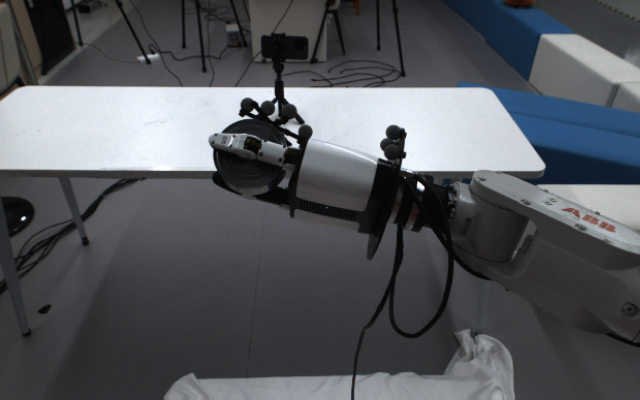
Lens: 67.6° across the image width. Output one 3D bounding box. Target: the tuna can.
[{"bbox_3d":[-0.079,-0.052,0.572,0.085,0.034,0.085,0,72,0],"label":"tuna can"}]
